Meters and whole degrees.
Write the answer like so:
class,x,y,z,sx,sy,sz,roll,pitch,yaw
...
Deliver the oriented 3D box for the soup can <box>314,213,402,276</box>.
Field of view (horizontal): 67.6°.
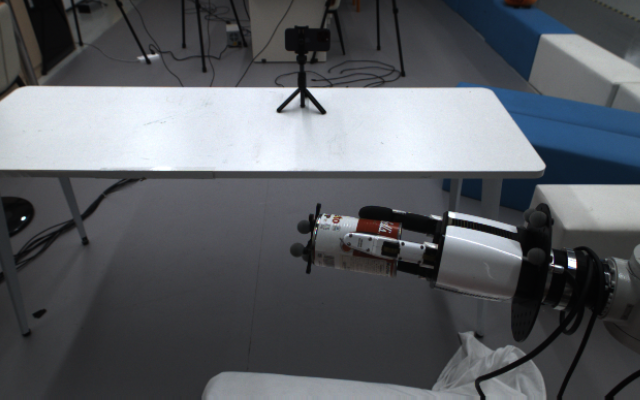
class,x,y,z,sx,sy,sz,roll,pitch,yaw
soup can,0.049,0.053,0.594,0.101,0.067,0.067,6,35,10
